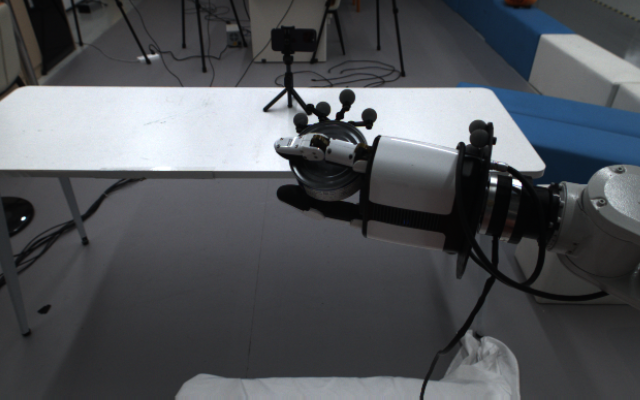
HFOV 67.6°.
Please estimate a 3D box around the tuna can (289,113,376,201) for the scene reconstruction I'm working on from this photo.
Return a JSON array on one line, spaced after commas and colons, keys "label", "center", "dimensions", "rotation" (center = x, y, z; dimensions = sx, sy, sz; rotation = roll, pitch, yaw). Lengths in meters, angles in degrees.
[{"label": "tuna can", "center": [0.012, -0.043, 0.529], "dimensions": [0.085, 0.034, 0.085], "rotation": [-6, 61, 10]}]
